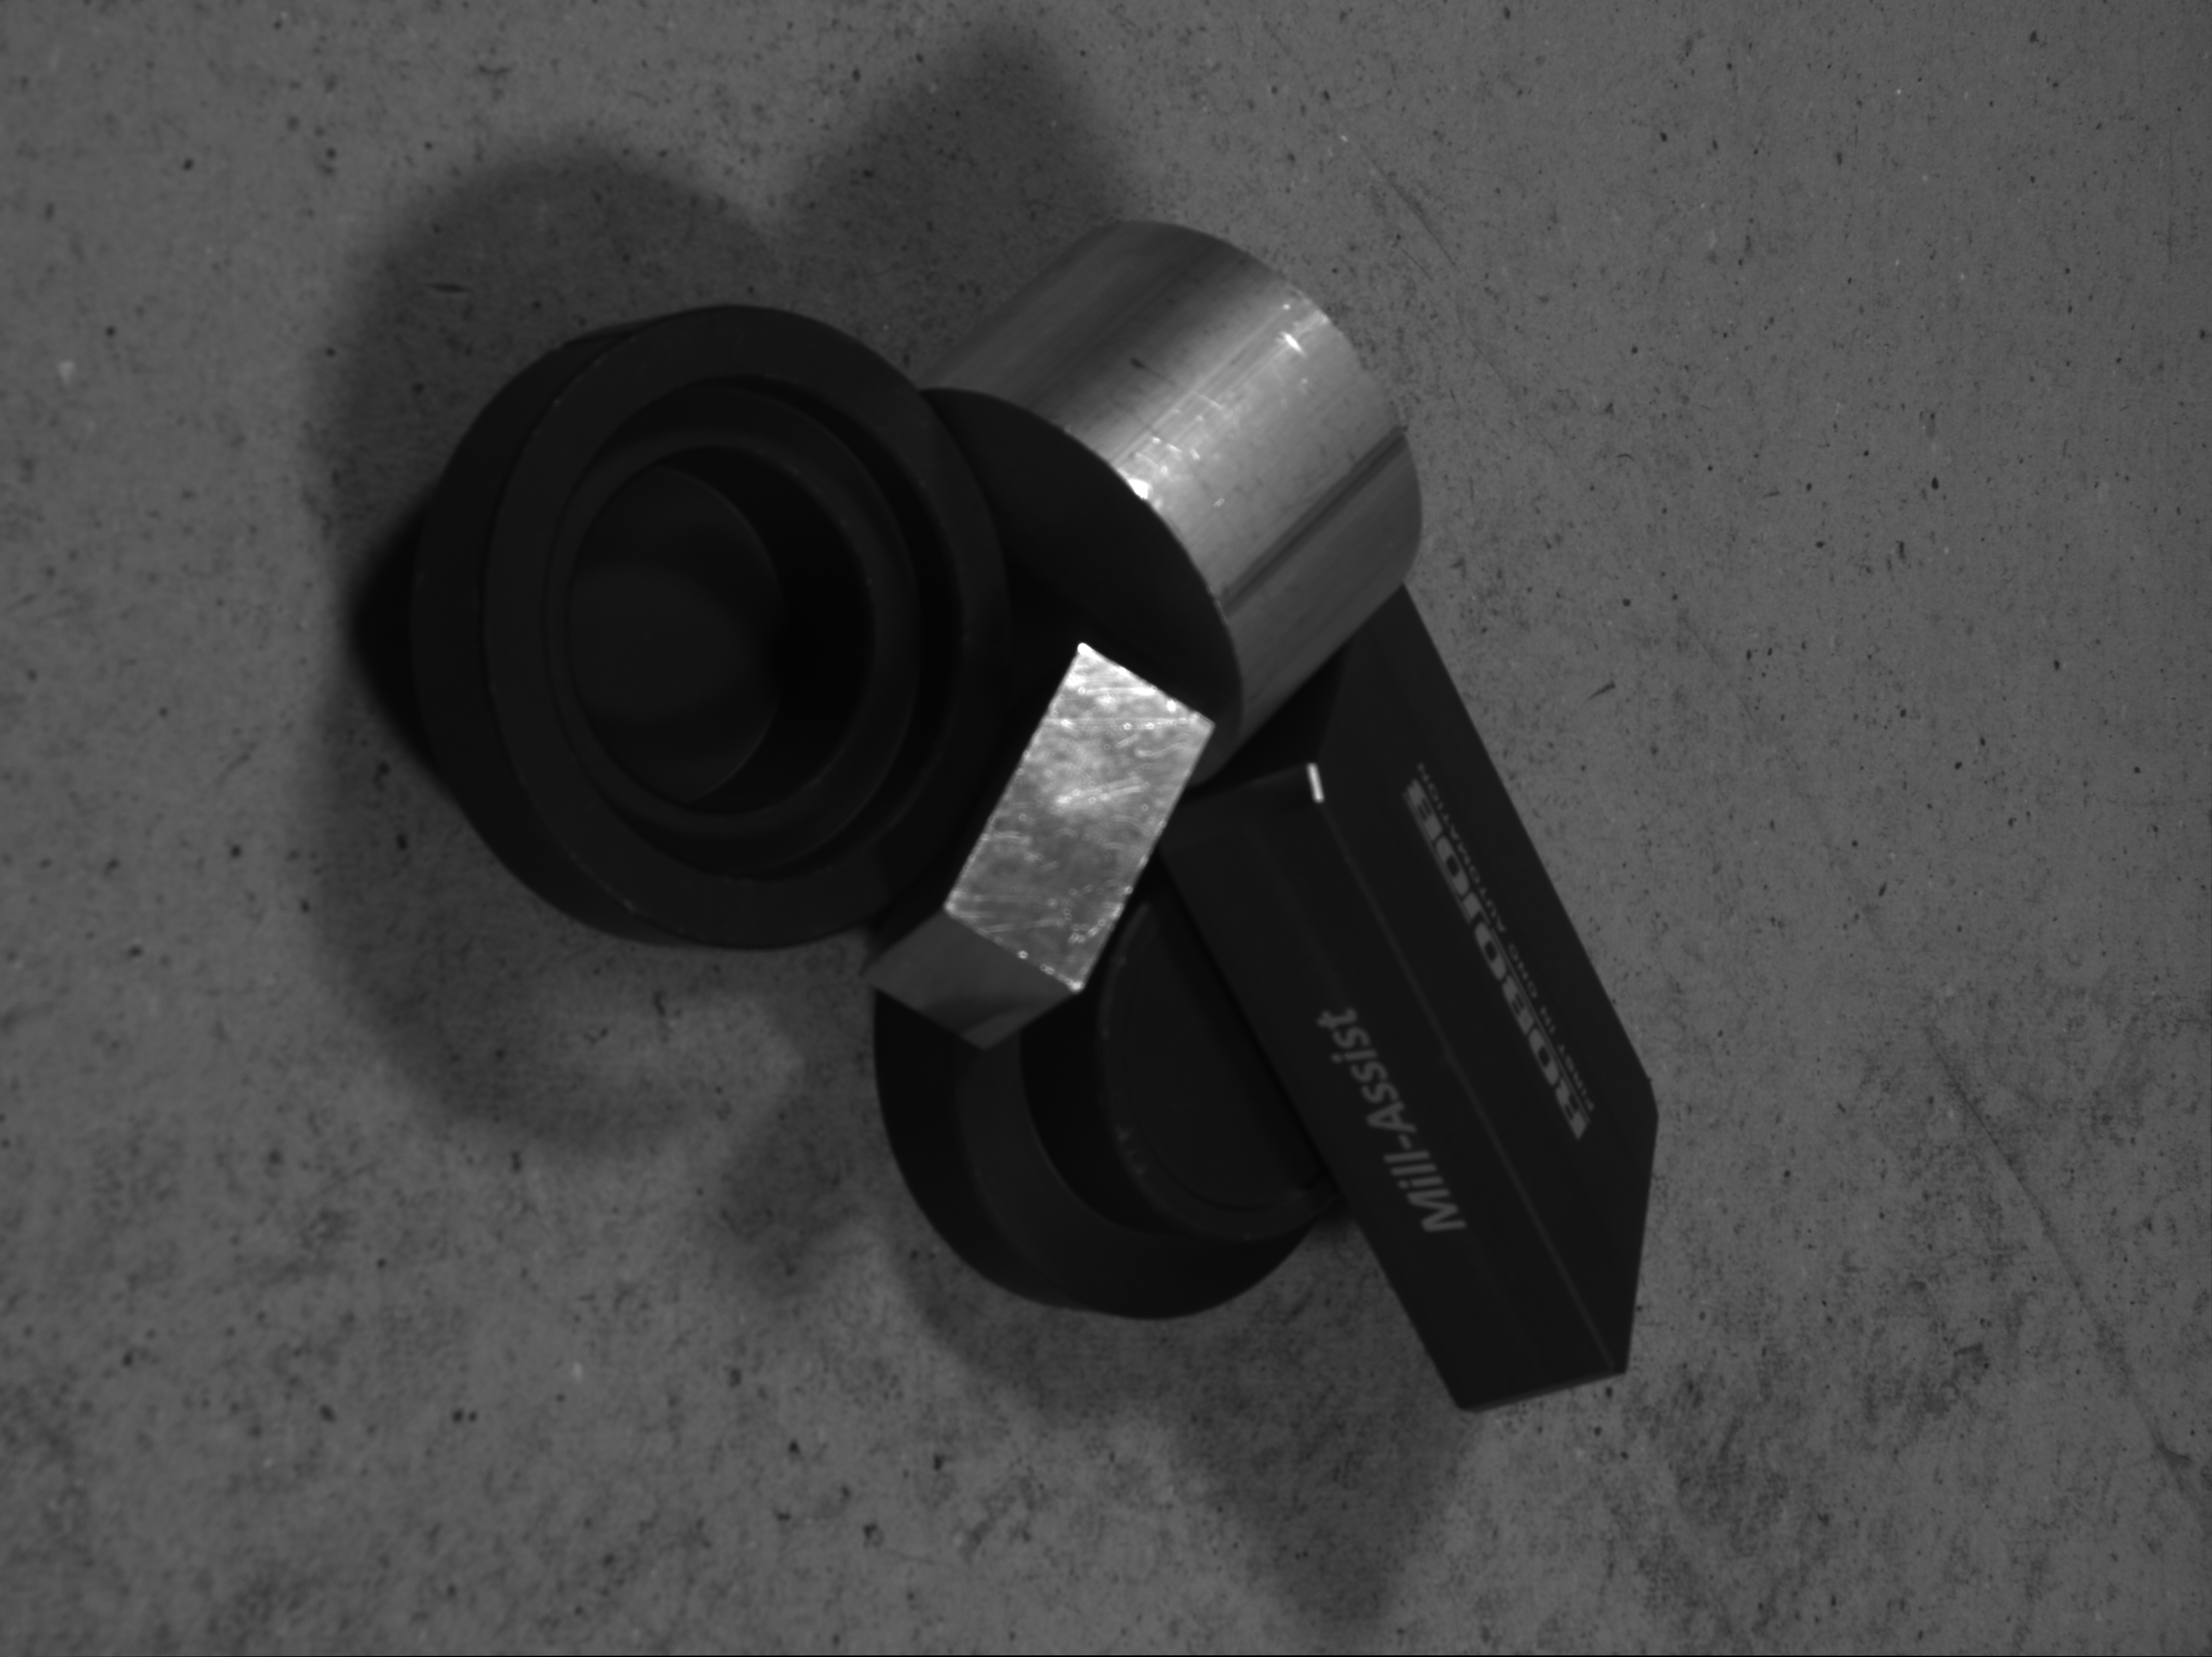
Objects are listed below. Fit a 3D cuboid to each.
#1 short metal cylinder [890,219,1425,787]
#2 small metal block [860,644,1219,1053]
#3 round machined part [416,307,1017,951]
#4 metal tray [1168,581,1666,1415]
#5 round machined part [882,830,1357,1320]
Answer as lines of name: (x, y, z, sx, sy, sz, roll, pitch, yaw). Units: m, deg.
short metal cylinder: (0.006, -0.053, 0.607, 0.050, 0.080, 0.080, -45, 117, -31)
small metal block: (-0.011, 0.004, 0.589, 0.025, 0.050, 0.050, 31, 69, -9)
round machined part: (-0.065, -0.030, 0.572, 0.098, 0.042, 0.098, 0, 90, -40)
metal tray: (0.059, 0.027, 0.654, 0.130, 0.030, 0.090, 62, 24, -22)
round machined part: (0.012, 0.037, 0.637, 0.098, 0.042, 0.098, 0, 90, -40)
